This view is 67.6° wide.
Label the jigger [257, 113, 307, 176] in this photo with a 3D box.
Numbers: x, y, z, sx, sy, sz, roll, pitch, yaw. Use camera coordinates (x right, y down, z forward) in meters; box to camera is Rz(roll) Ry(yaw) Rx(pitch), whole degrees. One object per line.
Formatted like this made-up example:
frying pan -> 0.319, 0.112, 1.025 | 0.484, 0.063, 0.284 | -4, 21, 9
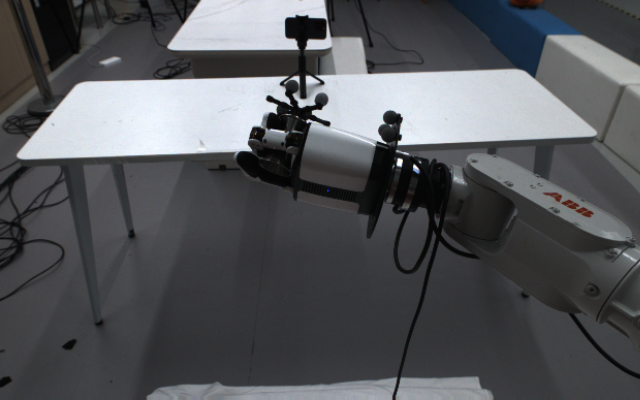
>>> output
jigger -> -0.044, -0.072, 0.610 | 0.043, 0.043, 0.071 | 15, 70, 18
